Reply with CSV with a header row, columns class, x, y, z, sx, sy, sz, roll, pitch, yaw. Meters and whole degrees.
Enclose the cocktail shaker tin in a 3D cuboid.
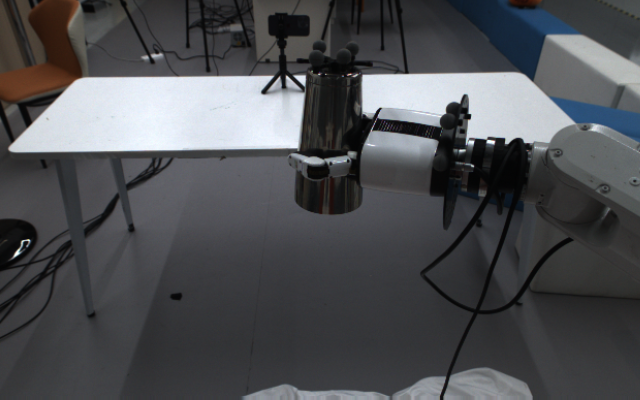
class,x,y,z,sx,sy,sz,roll,pitch,yaw
cocktail shaker tin,0.016,-0.079,0.608,0.093,0.170,0.093,2,28,-1
